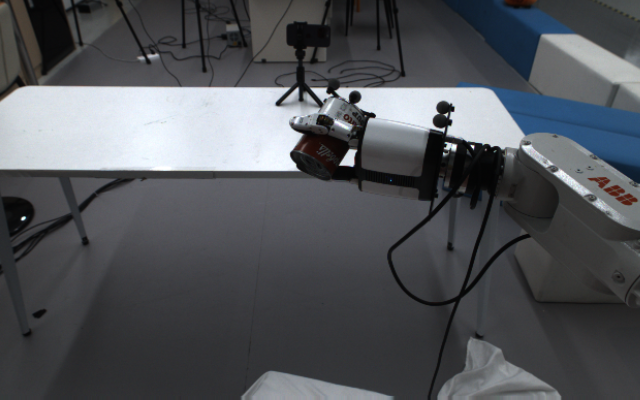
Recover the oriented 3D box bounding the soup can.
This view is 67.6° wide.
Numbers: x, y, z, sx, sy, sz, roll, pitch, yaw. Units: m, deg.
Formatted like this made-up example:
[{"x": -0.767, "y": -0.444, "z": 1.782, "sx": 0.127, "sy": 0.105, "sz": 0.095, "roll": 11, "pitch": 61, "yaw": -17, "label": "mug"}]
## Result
[{"x": 0.013, "y": -0.088, "z": 0.684, "sx": 0.067, "sy": 0.067, "sz": 0.101, "roll": 24, "pitch": 73, "yaw": 28, "label": "soup can"}]
